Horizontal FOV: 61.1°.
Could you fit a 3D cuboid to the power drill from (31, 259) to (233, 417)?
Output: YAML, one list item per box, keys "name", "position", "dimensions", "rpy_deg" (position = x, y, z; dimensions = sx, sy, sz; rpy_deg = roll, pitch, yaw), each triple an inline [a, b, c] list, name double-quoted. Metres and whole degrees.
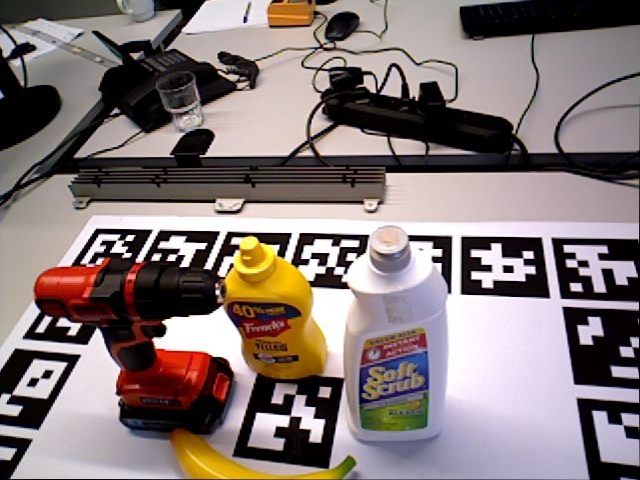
- name: "power drill"
  position: [-0.162, 0.093, 0.523]
  dimensions: [0.184, 0.191, 0.056]
  rpy_deg: [1, 39, 9]

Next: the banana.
- name: "banana"
  position: [-0.059, 0.220, 0.510]
  dimensions: [0.198, 0.039, 0.073]
  rpy_deg: [2, 51, 17]

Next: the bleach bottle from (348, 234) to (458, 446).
- name: "bleach bottle"
  position: [0.064, 0.094, 0.470]
  dimensions: [0.102, 0.255, 0.066]
  rpy_deg: [-4, 46, 6]

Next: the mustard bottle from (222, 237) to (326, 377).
- name: "mustard bottle"
  position: [-0.050, 0.066, 0.553]
  dimensions: [0.096, 0.195, 0.057]
  rpy_deg: [3, 46, 12]
